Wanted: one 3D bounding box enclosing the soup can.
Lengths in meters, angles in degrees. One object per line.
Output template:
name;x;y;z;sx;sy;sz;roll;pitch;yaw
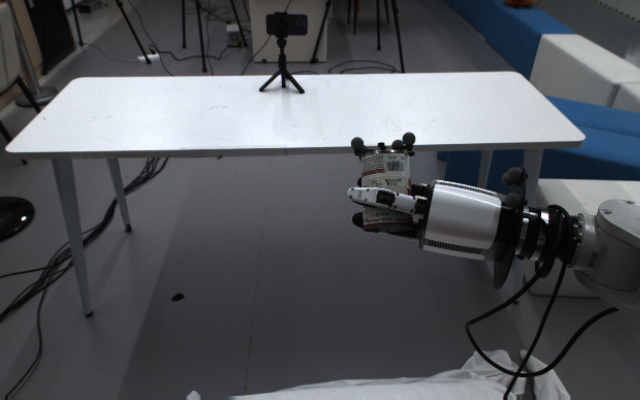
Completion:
soup can;0.091;-0.010;0.649;0.067;0.101;0.067;-1;-9;0
